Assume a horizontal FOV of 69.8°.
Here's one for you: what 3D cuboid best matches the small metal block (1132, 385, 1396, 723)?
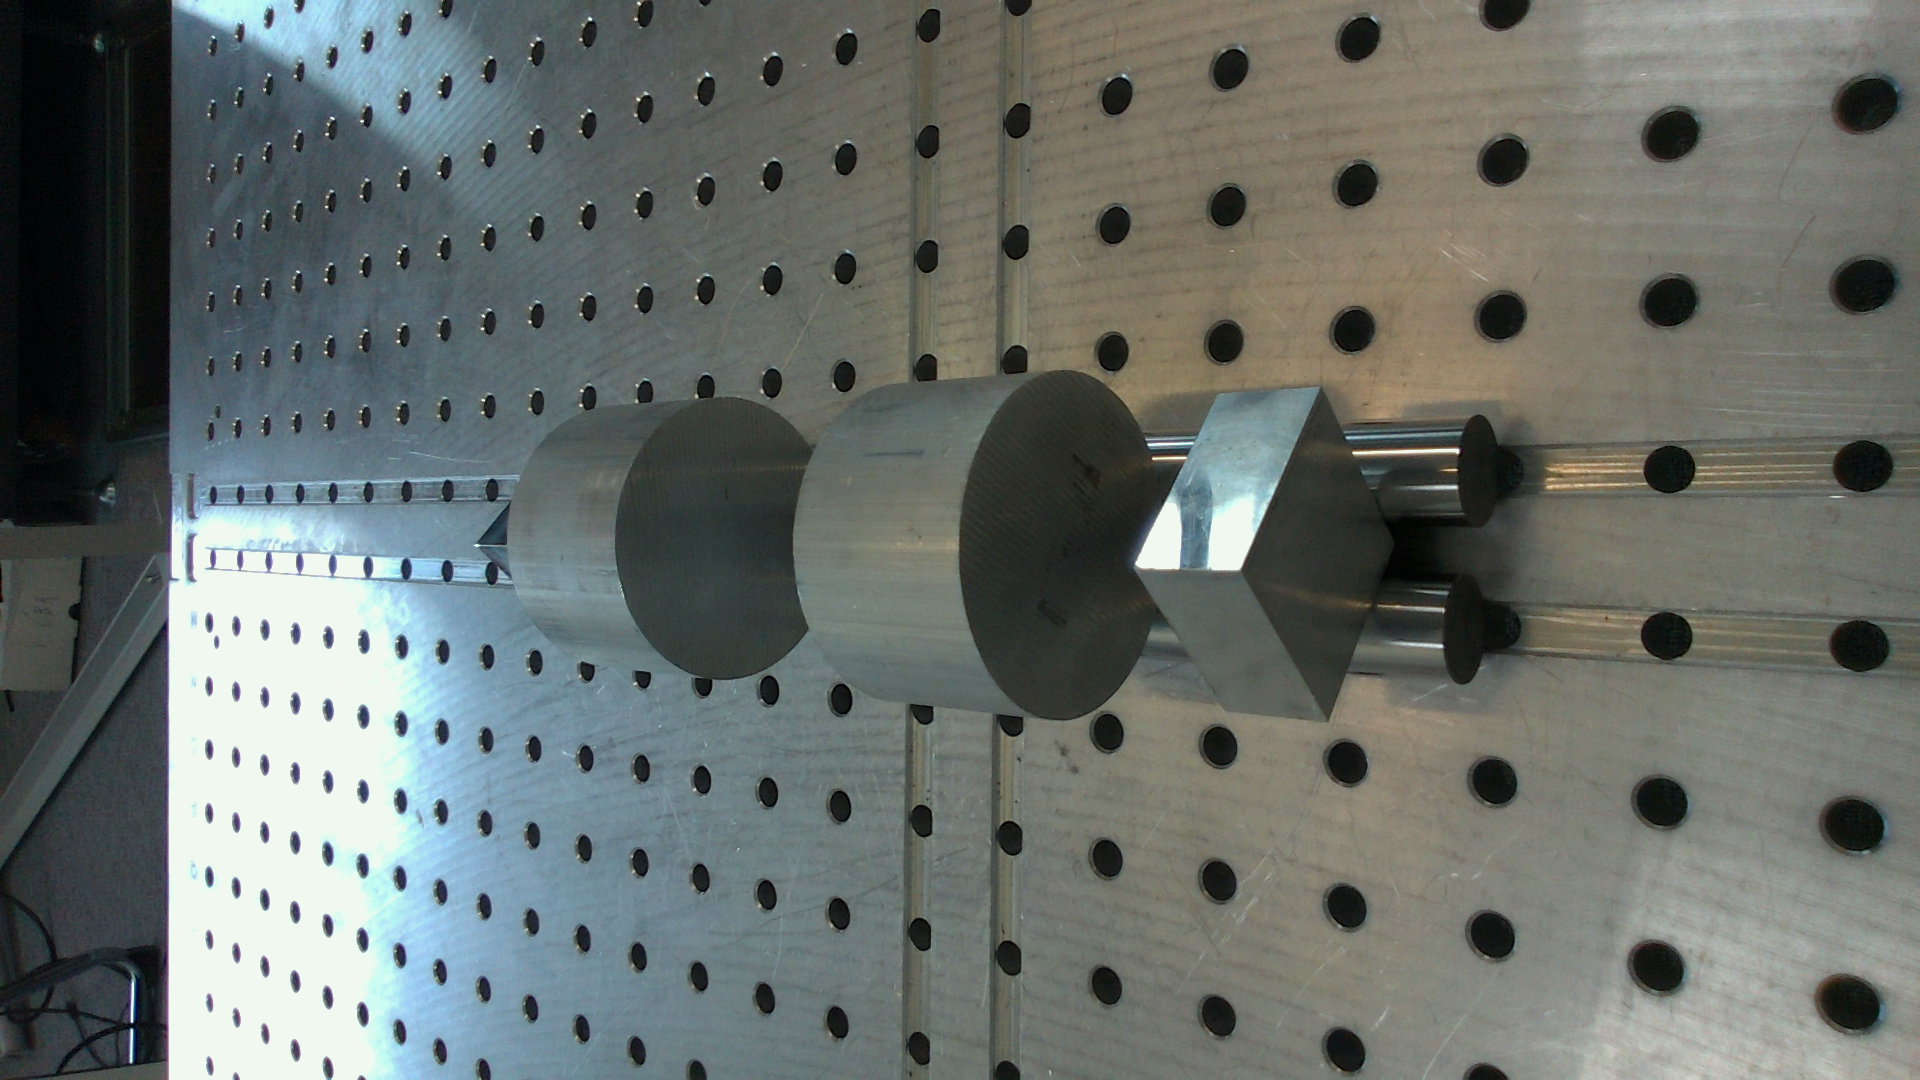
[{"bbox_3d":[0.067,0.003,0.295,0.025,0.050,0.050,1,49,41],"label":"small metal block"}]

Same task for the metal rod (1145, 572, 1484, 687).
[{"bbox_3d":[-0.003,0.018,0.400,0.299,0.025,0.025,1,91,40],"label":"metal rod"}]

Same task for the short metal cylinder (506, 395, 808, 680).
[{"bbox_3d":[-0.083,-0.001,0.403,0.050,0.080,0.080,1,91,40],"label":"short metal cylinder"}]

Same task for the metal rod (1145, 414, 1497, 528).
[{"bbox_3d":[-0.001,-0.017,0.399,0.299,0.025,0.025,1,91,40],"label":"metal rod"}]

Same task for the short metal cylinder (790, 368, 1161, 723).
[{"bbox_3d":[0.006,0.001,0.328,0.050,0.080,0.080,1,91,40],"label":"short metal cylinder"}]

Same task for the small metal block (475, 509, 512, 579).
[{"bbox_3d":[-0.121,-0.001,0.454,0.025,0.050,0.050,1,49,40],"label":"small metal block"}]
